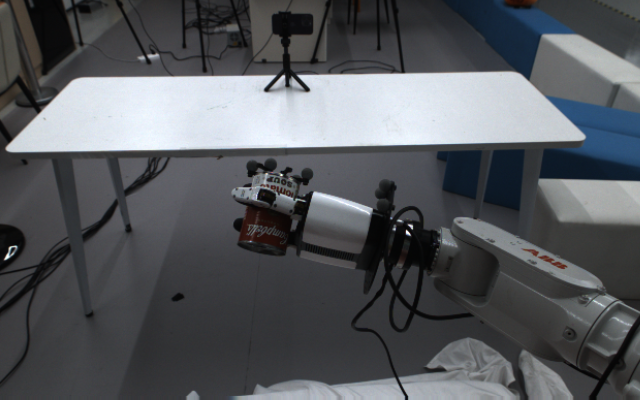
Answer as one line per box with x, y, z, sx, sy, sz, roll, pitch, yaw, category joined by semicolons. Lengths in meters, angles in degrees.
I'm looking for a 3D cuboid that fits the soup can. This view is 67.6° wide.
-0.069;0.020;0.662;0.067;0.067;0.101;8;72;9;soup can
